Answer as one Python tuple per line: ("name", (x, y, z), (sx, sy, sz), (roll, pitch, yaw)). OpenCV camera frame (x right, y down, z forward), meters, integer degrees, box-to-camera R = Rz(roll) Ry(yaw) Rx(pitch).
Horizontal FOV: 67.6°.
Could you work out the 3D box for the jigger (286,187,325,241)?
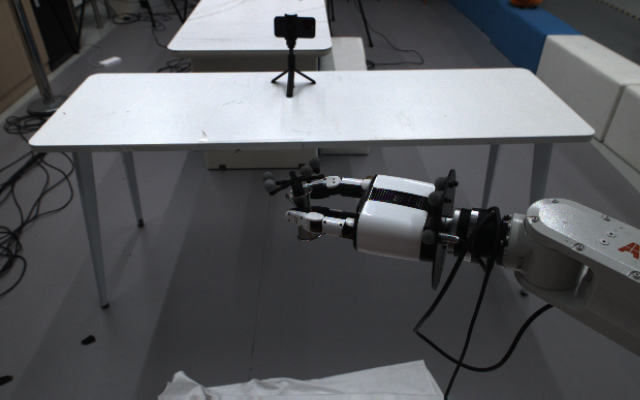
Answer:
("jigger", (-0.020, 0.019, 0.691), (0.043, 0.071, 0.043), (-14, 21, 6))
